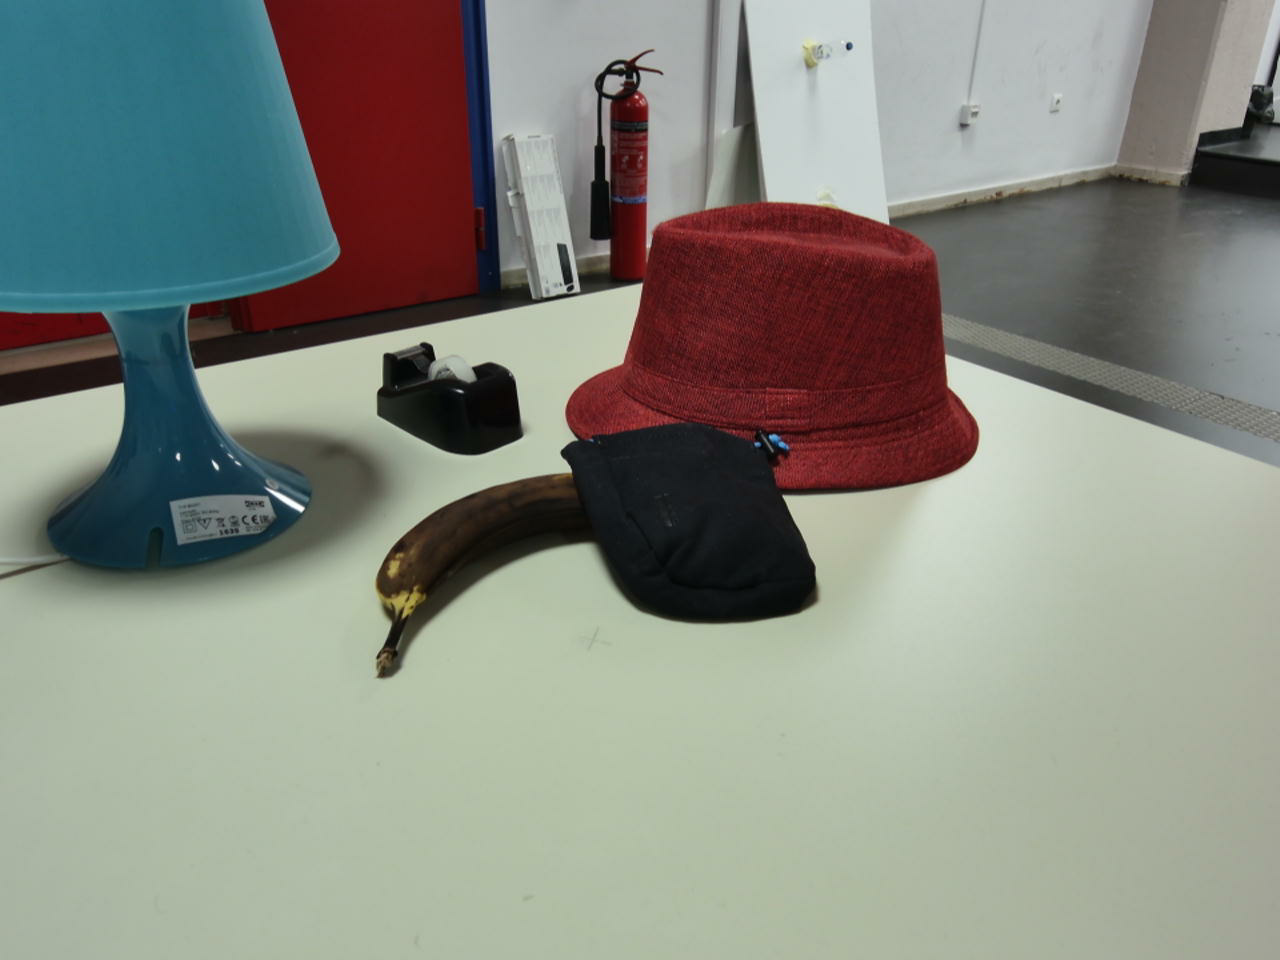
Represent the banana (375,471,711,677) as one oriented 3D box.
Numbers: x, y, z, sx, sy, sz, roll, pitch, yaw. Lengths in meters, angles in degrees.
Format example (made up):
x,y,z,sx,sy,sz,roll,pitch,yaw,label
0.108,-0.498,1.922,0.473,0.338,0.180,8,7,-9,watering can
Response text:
x,y,z,sx,sy,sz,roll,pitch,yaw,label
-0.060,0.029,0.496,0.188,0.034,0.091,-18,30,-33,banana
